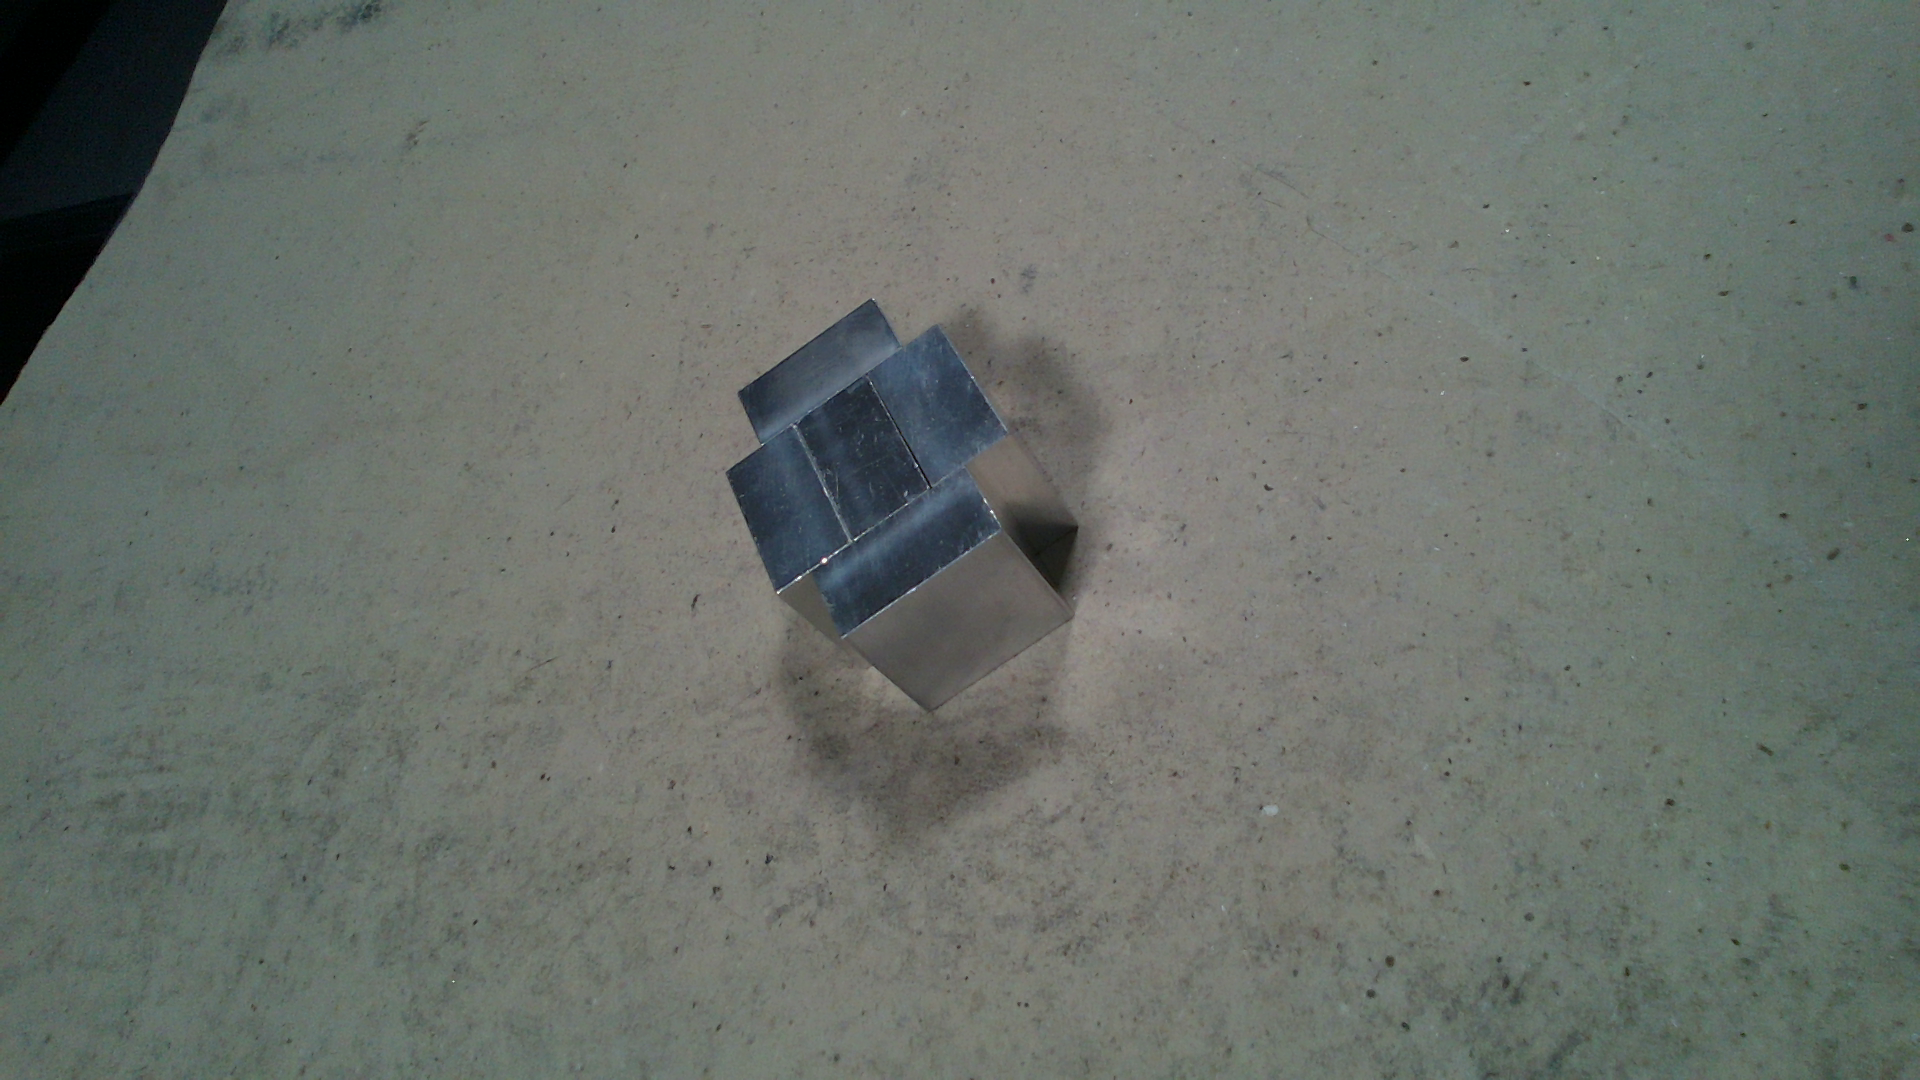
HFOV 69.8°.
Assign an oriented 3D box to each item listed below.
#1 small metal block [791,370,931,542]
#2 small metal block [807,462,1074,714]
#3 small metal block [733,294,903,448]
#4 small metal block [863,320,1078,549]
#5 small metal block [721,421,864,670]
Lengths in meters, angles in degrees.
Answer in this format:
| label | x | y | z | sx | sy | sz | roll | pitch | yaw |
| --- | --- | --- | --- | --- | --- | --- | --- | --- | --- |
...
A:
| label | x | y | z | sx | sy | sz | roll | pitch | yaw |
| --- | --- | --- | --- | --- | --- | --- | --- | --- | --- |
| small metal block | -0.018 | -0.012 | 0.394 | 0.025 | 0.050 | 0.050 | -35 | 51 | 6 |
| small metal block | -0.004 | 0.014 | 0.371 | 0.050 | 0.050 | 0.025 | -34 | 51 | 6 |
| small metal block | -0.032 | -0.038 | 0.418 | 0.050 | 0.050 | 0.025 | -34 | 51 | 6 |
| small metal block | 0.003 | -0.026 | 0.392 | 0.025 | 0.050 | 0.050 | -35 | 51 | 5 |
| small metal block | -0.038 | 0.002 | 0.397 | 0.025 | 0.050 | 0.050 | -35 | 51 | 6 |
